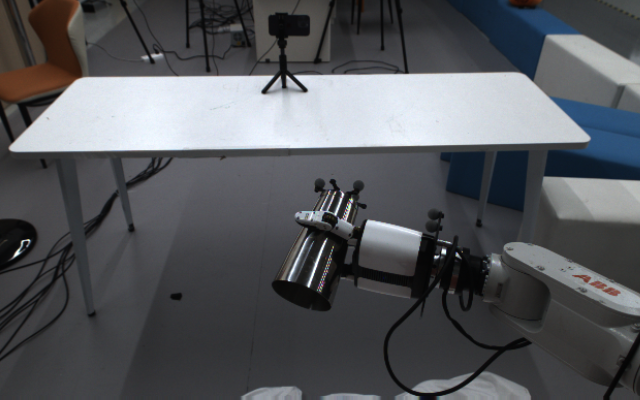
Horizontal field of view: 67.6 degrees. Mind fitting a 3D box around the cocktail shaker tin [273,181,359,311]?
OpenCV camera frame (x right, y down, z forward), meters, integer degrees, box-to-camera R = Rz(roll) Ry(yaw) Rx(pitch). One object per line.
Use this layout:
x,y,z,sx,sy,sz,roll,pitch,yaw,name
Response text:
0.000,0.068,0.728,0.093,0.093,0.170,14,57,16,cocktail shaker tin
